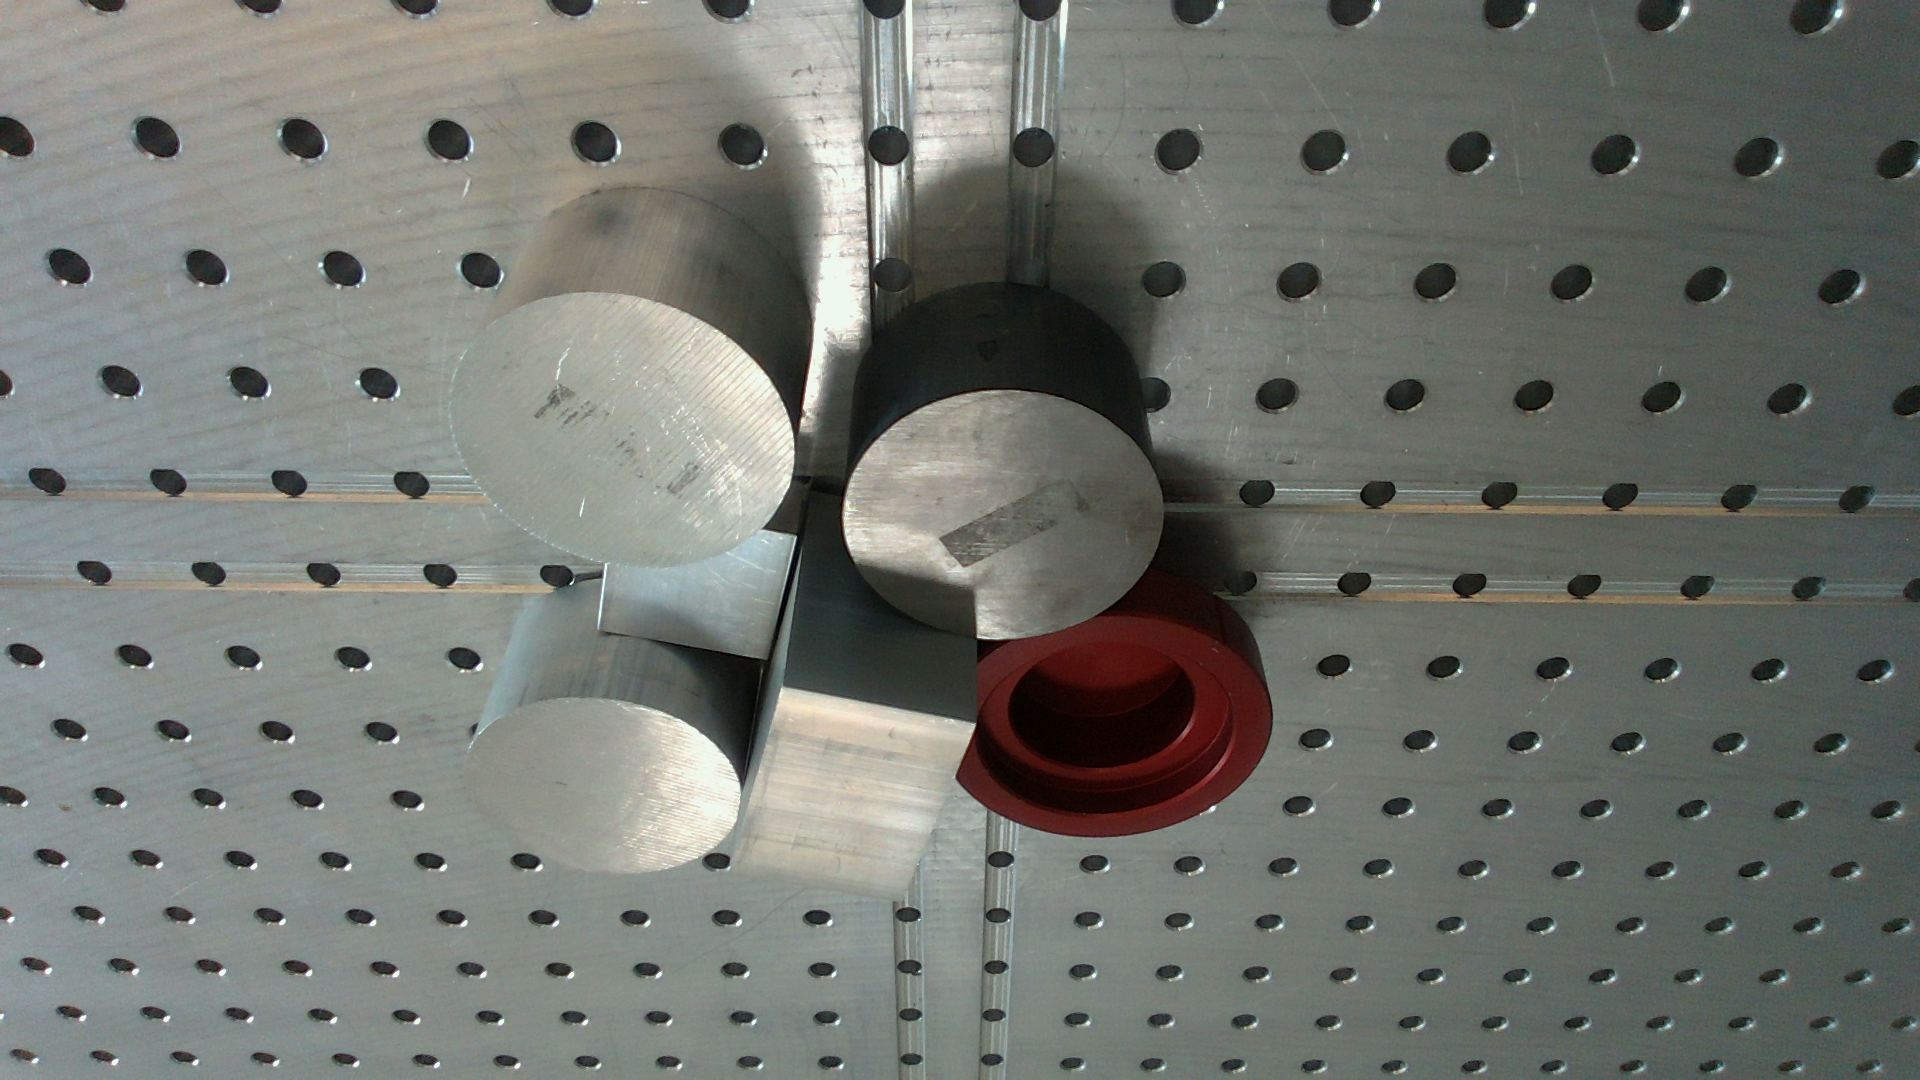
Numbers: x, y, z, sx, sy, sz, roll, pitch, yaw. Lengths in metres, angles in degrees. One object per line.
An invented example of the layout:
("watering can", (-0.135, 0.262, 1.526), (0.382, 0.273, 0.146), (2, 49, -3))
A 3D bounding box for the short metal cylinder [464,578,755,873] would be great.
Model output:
("short metal cylinder", (-0.105, 0.058, 0.425), (0.080, 0.050, 0.080), (0, 130, 0))

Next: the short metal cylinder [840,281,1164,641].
("short metal cylinder", (0.010, -0.020, 0.360), (0.080, 0.050, 0.080), (0, 130, 0))

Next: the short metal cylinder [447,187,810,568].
("short metal cylinder", (-0.079, -0.040, 0.343), (0.080, 0.050, 0.080), (0, 130, 0))

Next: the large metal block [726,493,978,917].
("large metal block", (-0.030, 0.047, 0.393), (0.050, 0.080, 0.080), (12, 129, -10))

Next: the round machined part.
("round machined part", (0.042, 0.044, 0.420), (0.098, 0.042, 0.098), (0, 130, 0))

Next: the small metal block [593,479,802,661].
("small metal block", (-0.076, 0.005, 0.396), (0.050, 0.025, 0.050), (11, 129, -10))
